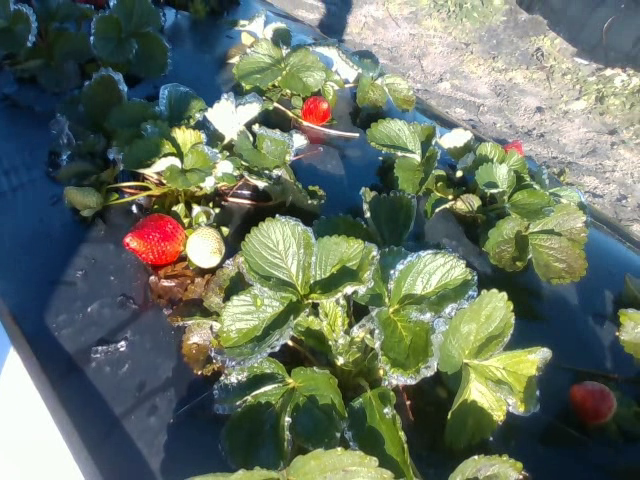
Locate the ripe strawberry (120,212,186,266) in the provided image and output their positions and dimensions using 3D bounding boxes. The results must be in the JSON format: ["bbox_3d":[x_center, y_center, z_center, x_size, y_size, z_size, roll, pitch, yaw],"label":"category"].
[{"bbox_3d":[-0.115,0.000,0.422,0.040,0.042,0.053,5,3,20],"label":"ripe strawberry"}]
